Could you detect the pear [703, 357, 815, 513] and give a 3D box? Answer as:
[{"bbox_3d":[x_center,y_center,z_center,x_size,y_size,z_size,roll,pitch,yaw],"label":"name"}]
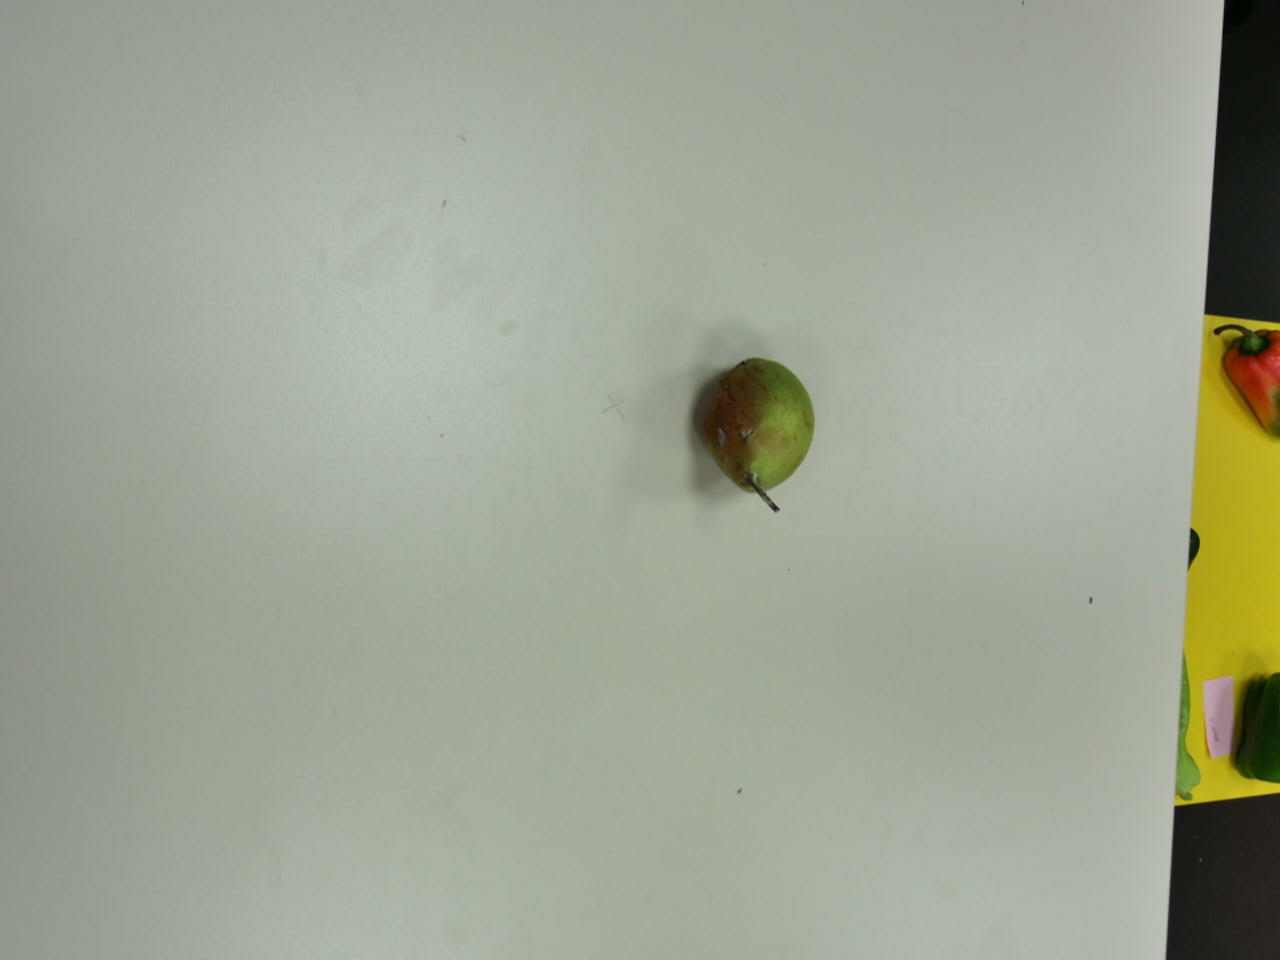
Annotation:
[{"bbox_3d":[0.066,-0.030,0.556,0.070,0.069,0.068,-36,103,-18],"label":"pear"}]
